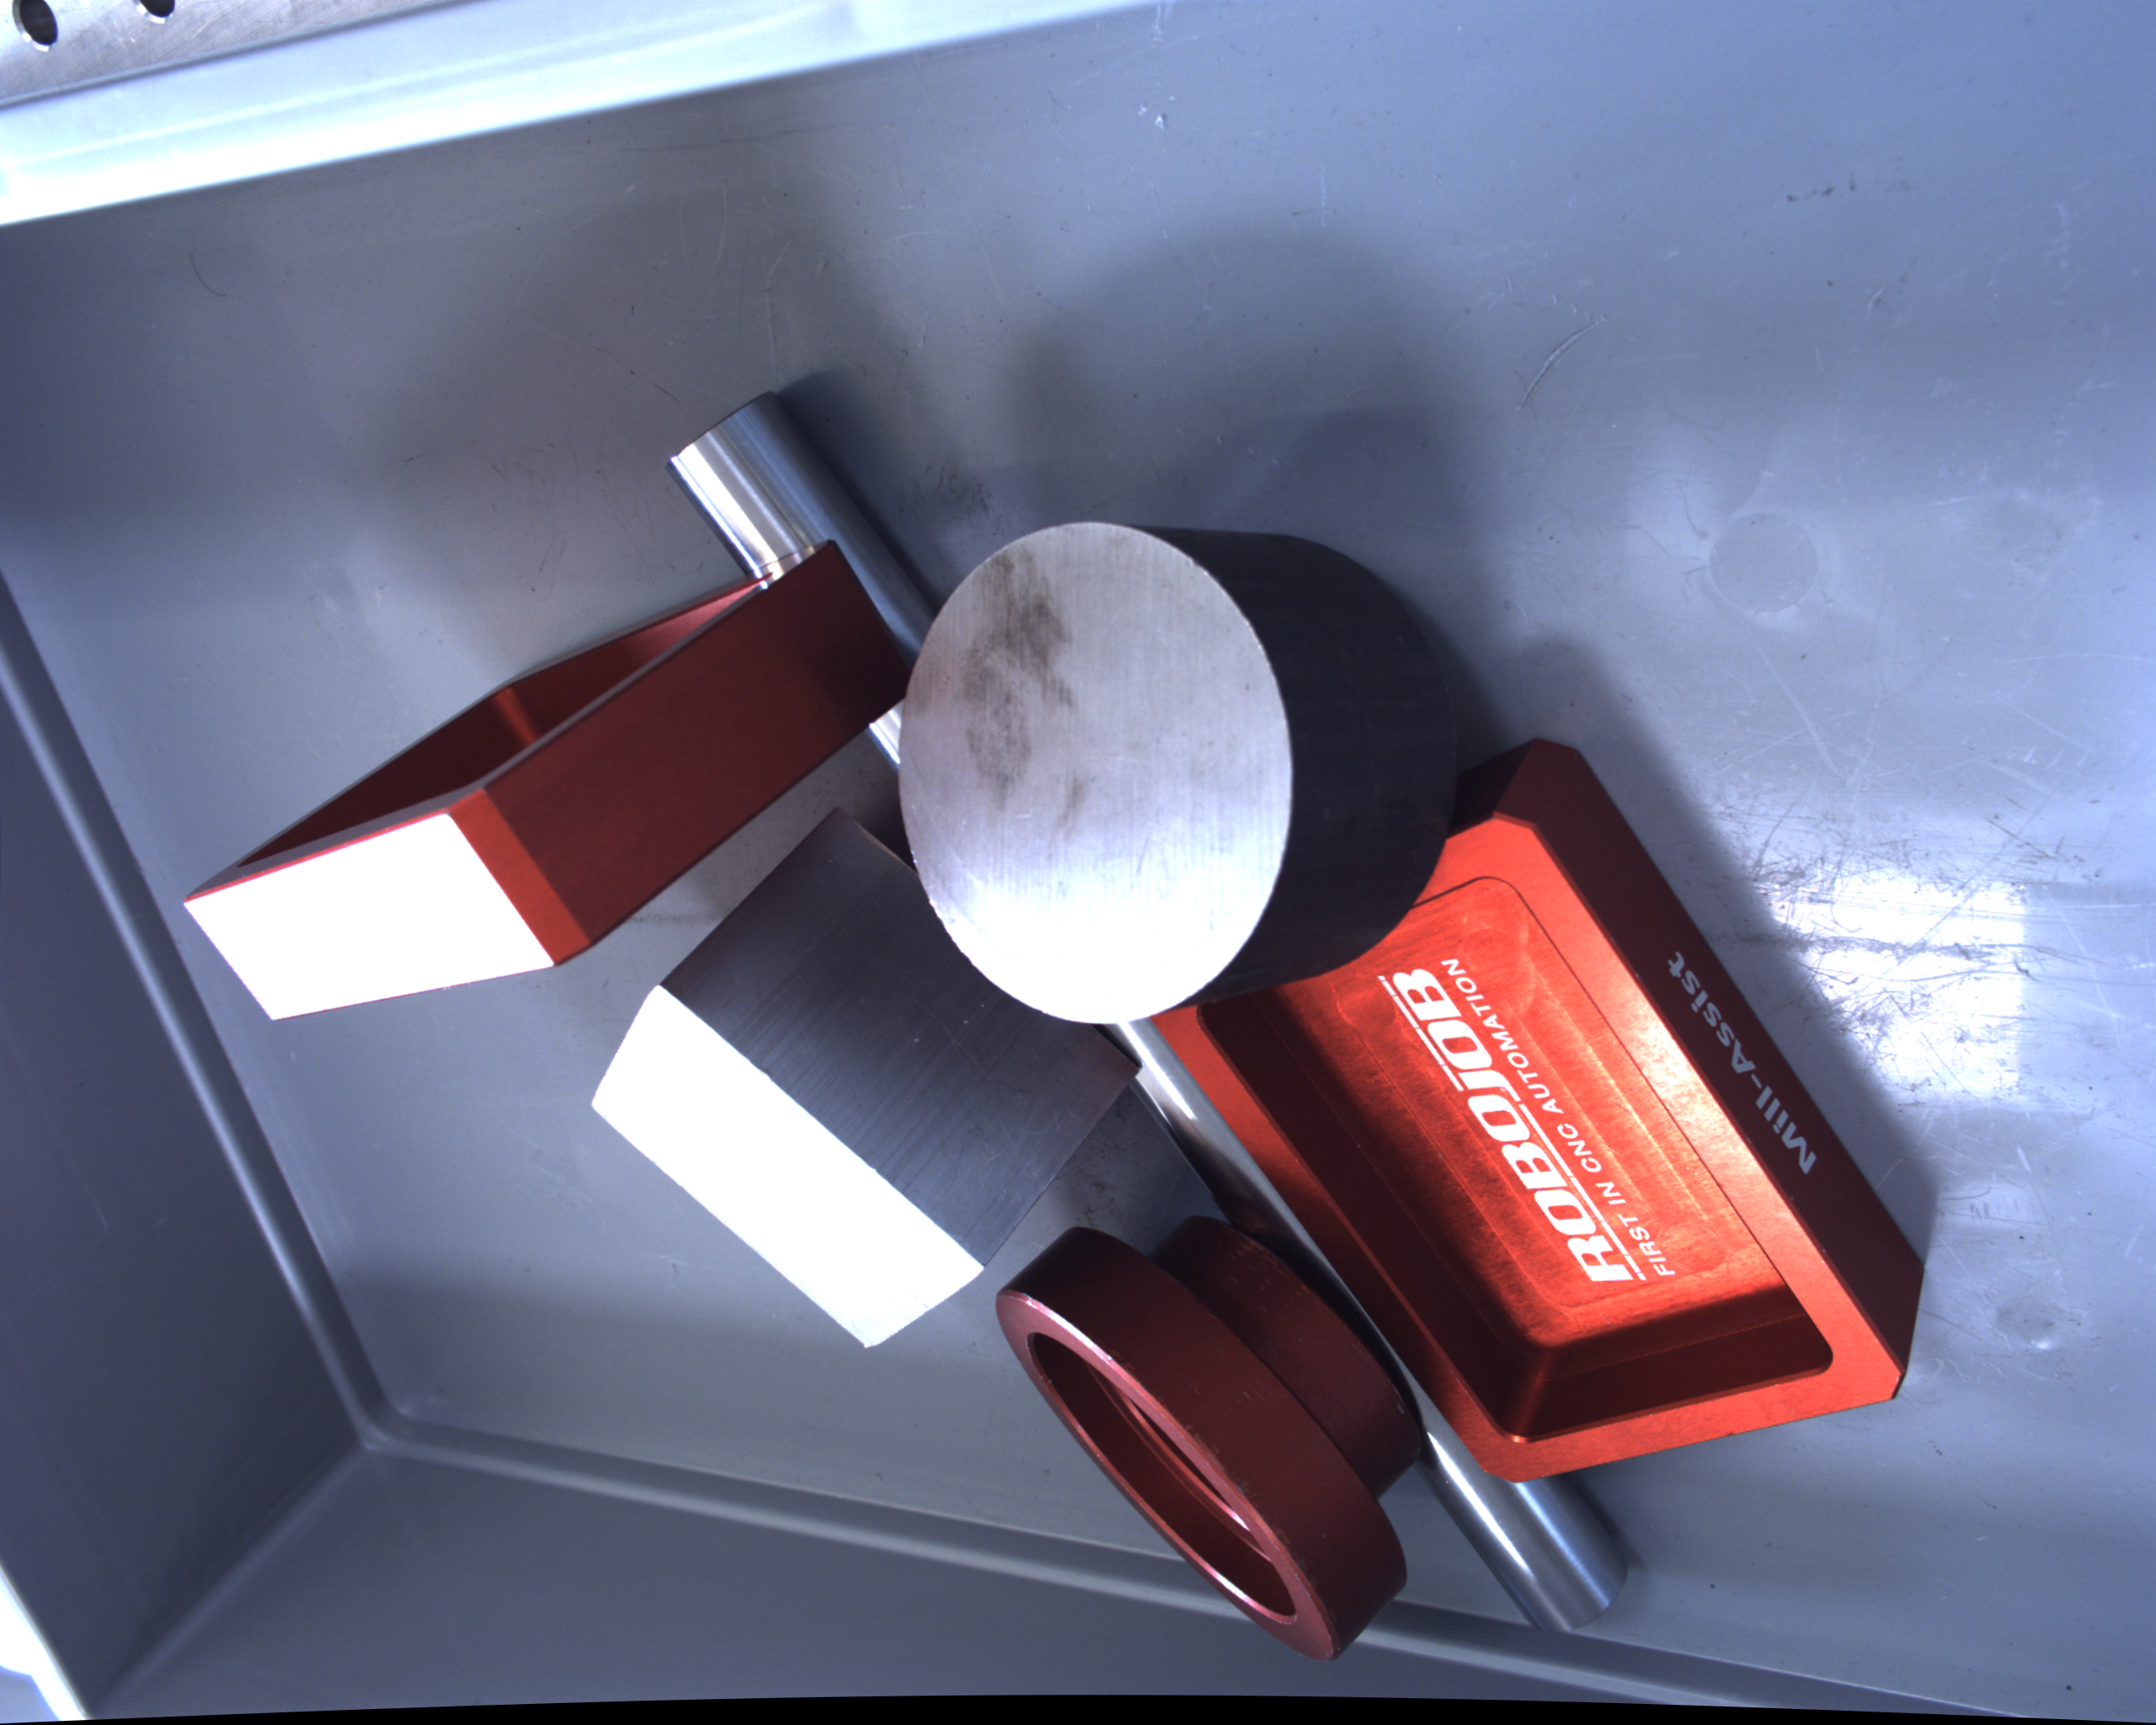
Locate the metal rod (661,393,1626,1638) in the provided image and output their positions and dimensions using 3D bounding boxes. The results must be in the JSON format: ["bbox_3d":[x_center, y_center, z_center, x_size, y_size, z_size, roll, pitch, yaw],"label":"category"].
[{"bbox_3d":[0.019,0.038,0.419,0.025,0.025,0.299,-28,103,37],"label":"metal rod"}]

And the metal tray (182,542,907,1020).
[{"bbox_3d":[-0.102,-0.013,0.392,0.130,0.090,0.030,-11,115,48],"label":"metal tray"}]

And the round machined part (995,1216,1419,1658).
[{"bbox_3d":[0.031,0.112,0.430,0.098,0.042,0.098,42,159,21],"label":"round machined part"}]

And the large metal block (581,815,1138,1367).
[{"bbox_3d":[-0.047,0.049,0.422,0.080,0.050,0.080,41,147,0],"label":"large metal block"}]

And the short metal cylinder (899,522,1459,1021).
[{"bbox_3d":[0.016,-0.016,0.353,0.080,0.050,0.079,5,97,39],"label":"short metal cylinder"}]

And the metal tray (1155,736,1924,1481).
[{"bbox_3d":[0.084,0.051,0.390,0.090,0.030,0.130,-28,103,37],"label":"metal tray"}]
